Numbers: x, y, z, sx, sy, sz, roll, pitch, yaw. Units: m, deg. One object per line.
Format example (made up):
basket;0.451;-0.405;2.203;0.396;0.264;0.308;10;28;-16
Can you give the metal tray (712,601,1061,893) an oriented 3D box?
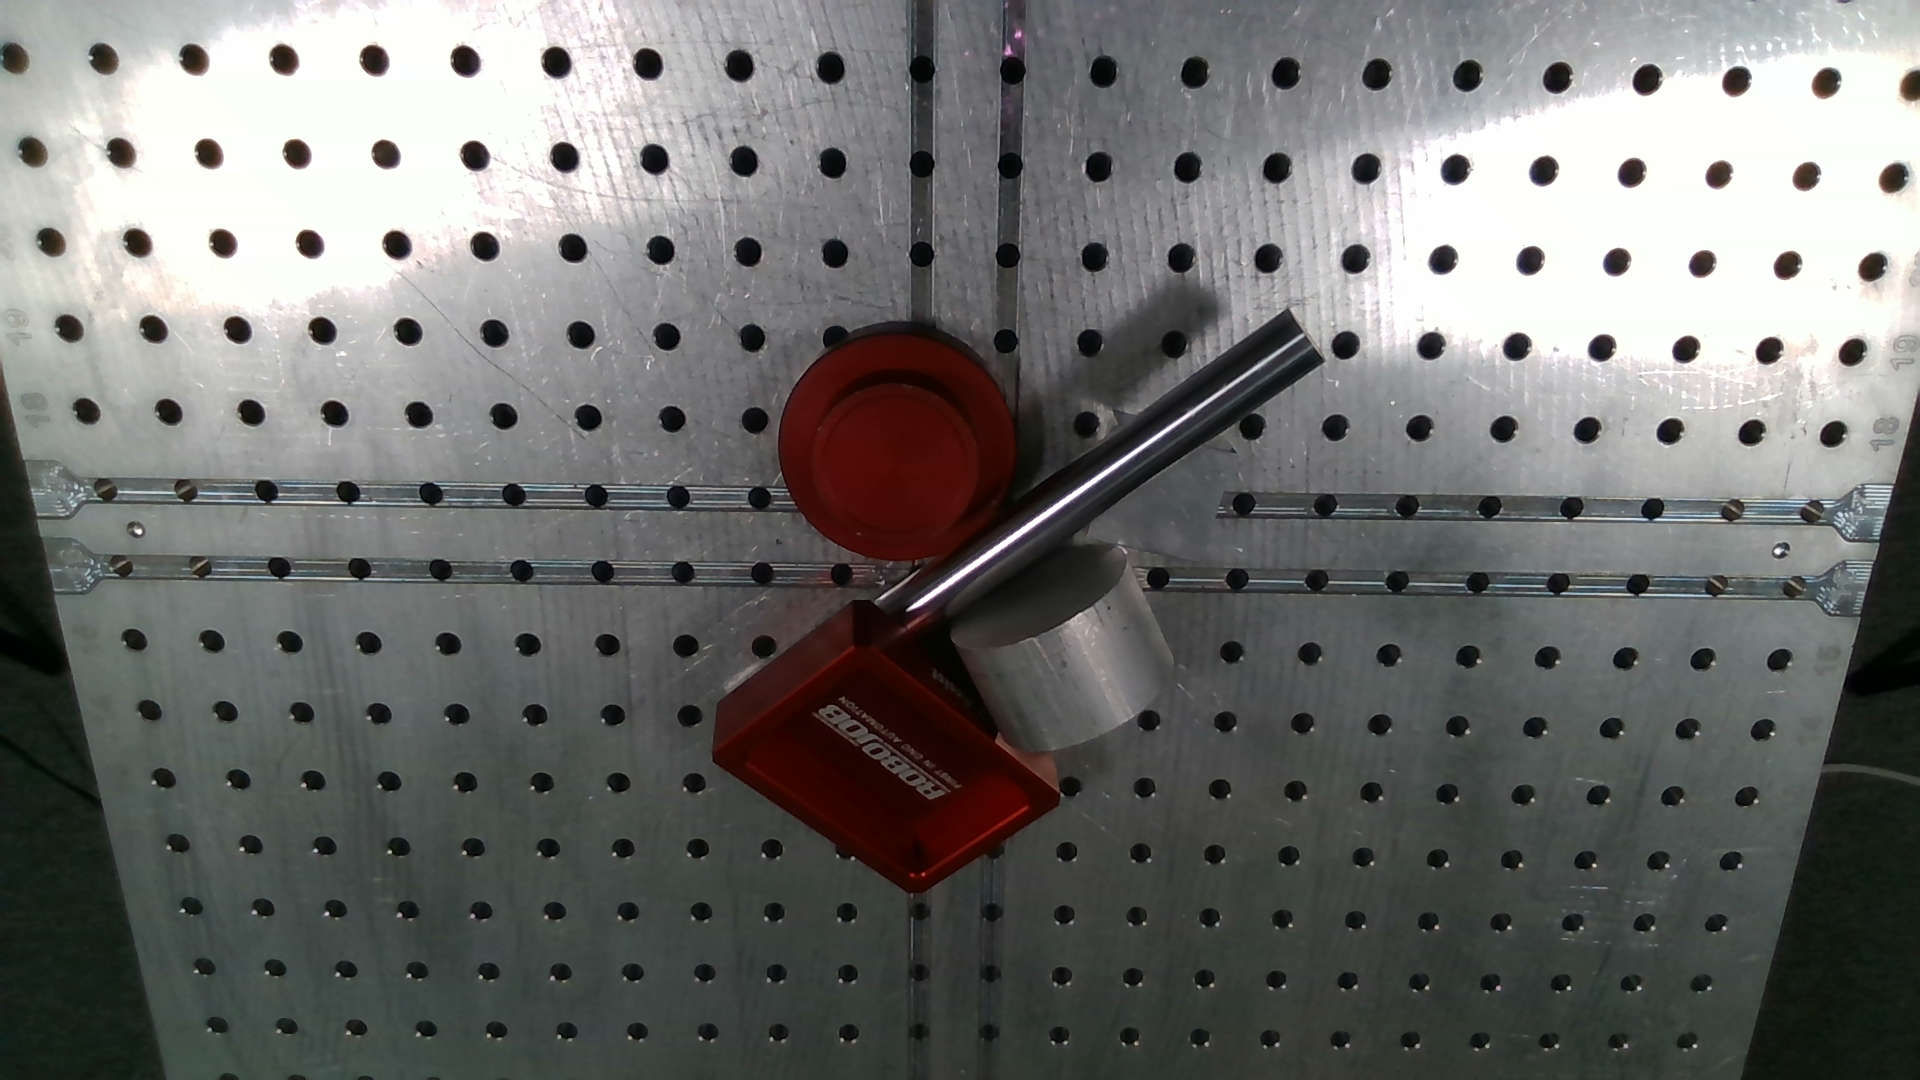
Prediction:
metal tray;-0.030;0.093;0.596;0.090;0.030;0.130;-37;121;20

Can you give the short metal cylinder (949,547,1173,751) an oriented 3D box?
short metal cylinder;0.042;0.044;0.574;0.080;0.080;0.050;-24;108;8

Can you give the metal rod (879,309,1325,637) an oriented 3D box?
metal rod;0.016;0.005;0.571;0.300;0.025;0.025;-36;106;20

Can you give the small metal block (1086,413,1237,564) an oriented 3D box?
small metal block;0.083;-0.023;0.579;0.050;0.025;0.050;12;110;-4

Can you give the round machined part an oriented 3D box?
round machined part;-0.026;-0.037;0.563;0.098;0.042;0.098;0;110;0
